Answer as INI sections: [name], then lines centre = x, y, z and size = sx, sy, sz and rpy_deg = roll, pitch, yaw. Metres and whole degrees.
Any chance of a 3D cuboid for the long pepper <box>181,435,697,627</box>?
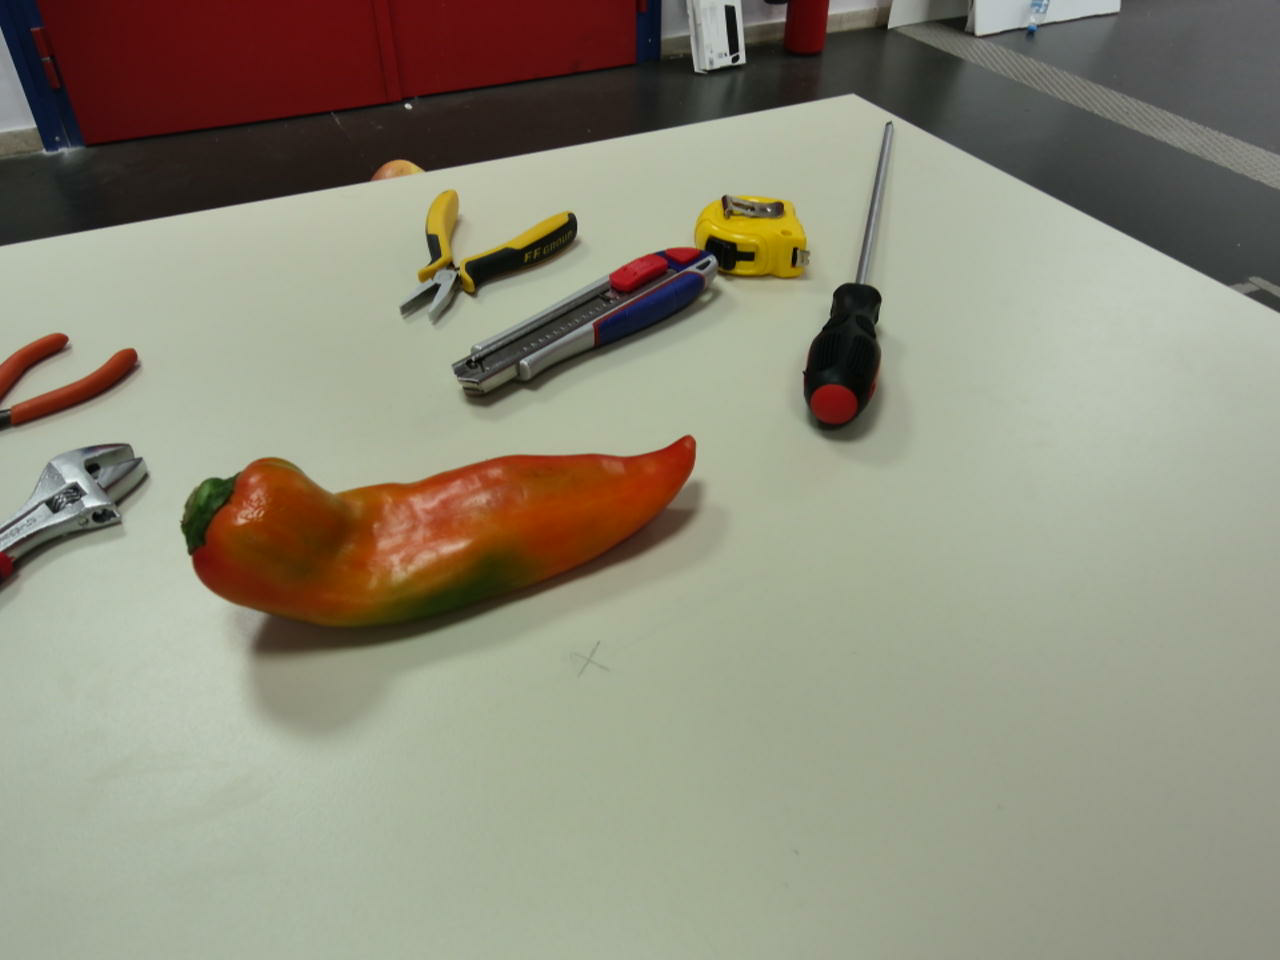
[long pepper]
centre = -0.066, 0.007, 0.383
size = 0.199, 0.065, 0.066
rpy_deg = -14, 40, -17
